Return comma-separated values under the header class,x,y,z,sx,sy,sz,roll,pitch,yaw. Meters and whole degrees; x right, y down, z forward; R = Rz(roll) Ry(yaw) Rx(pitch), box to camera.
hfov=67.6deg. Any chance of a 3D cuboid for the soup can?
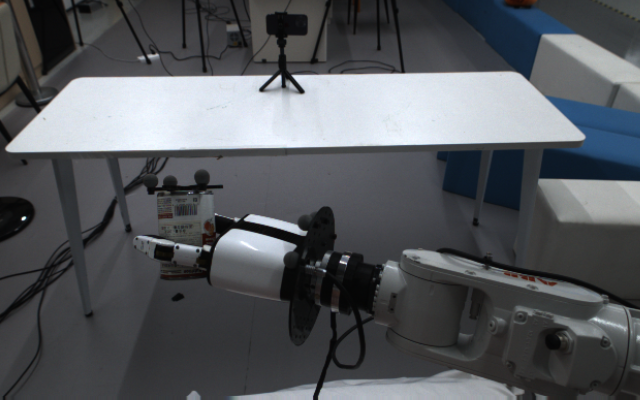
class,x,y,z,sx,sy,sz,roll,pitch,yaw
soup can,-0.158,0.042,0.579,0.067,0.101,0.067,-3,-1,0
